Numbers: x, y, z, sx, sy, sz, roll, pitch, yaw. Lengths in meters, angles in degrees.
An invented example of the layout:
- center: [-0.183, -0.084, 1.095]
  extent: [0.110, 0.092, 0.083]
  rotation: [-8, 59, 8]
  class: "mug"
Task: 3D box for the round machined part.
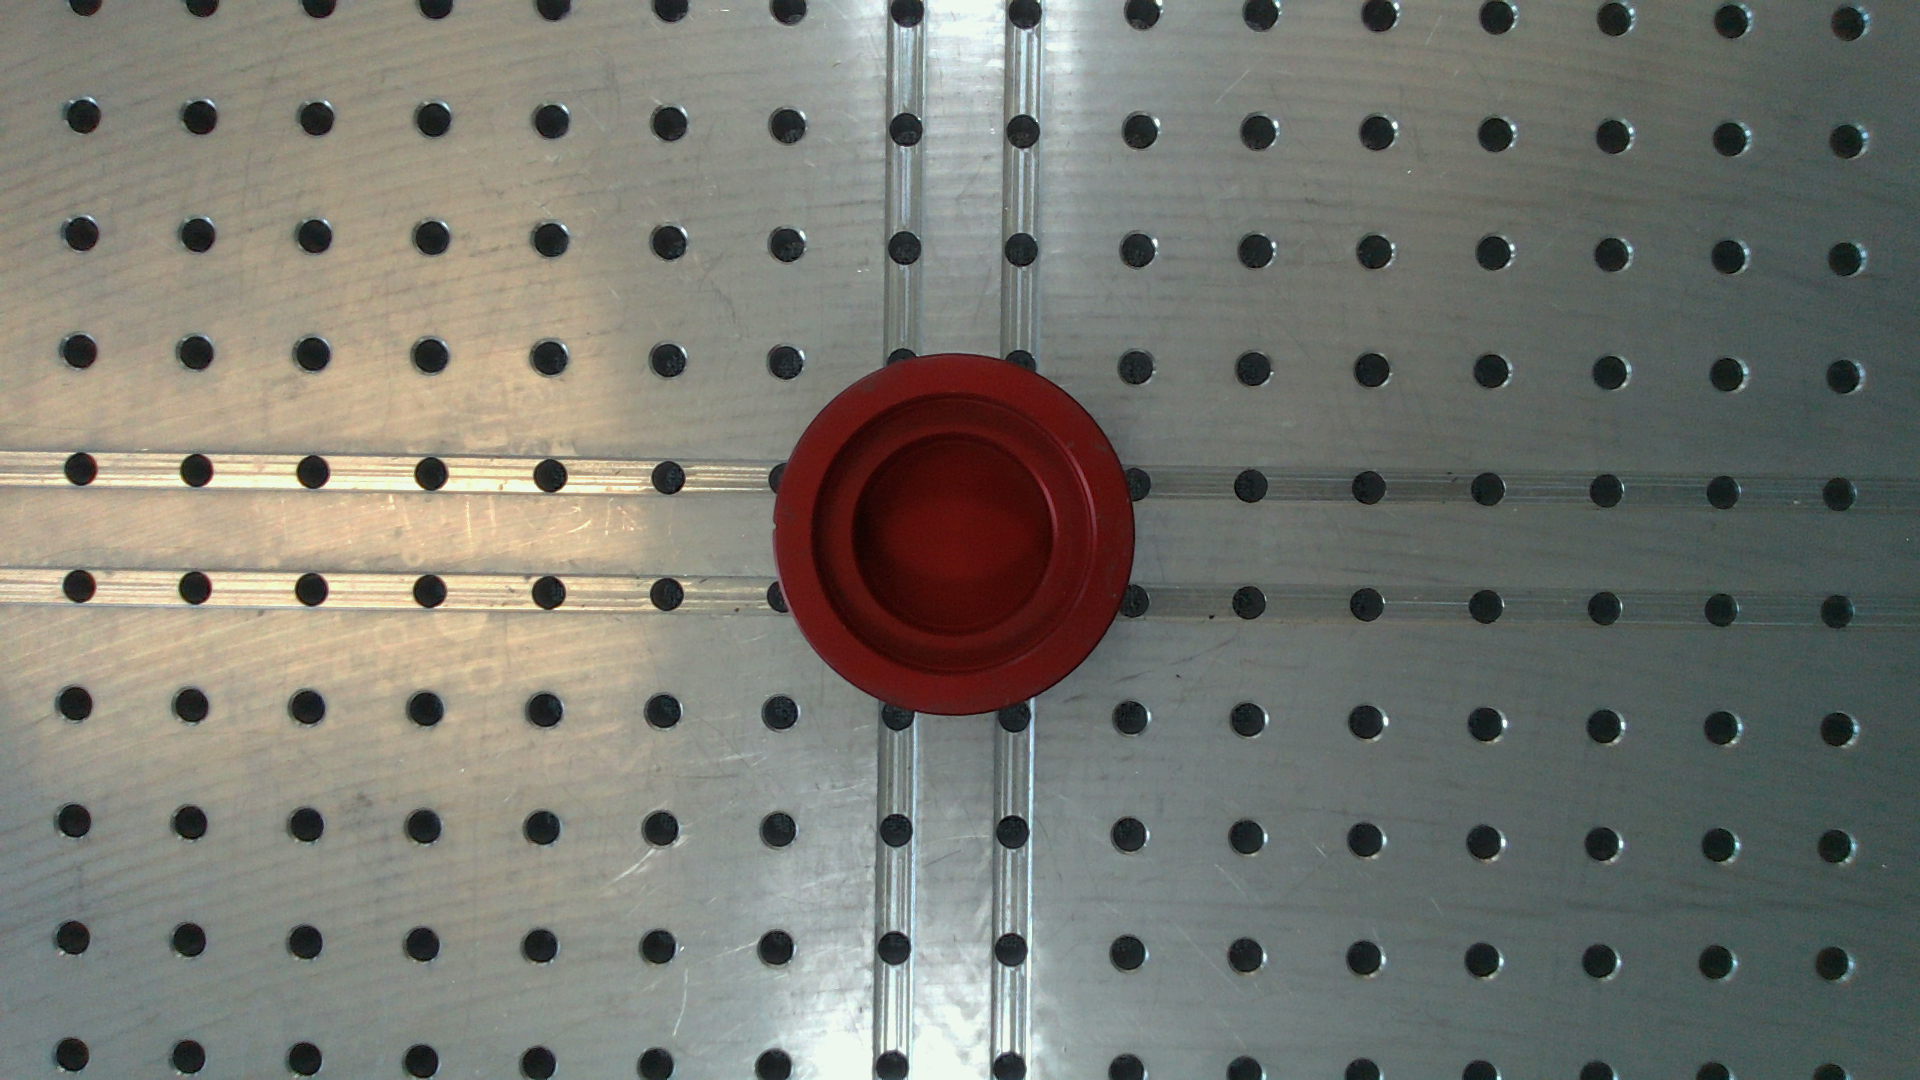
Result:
- center: [-0.002, -0.002, 0.388]
  extent: [0.098, 0.042, 0.098]
  rotation: [0, 90, 0]
  class: "round machined part"
